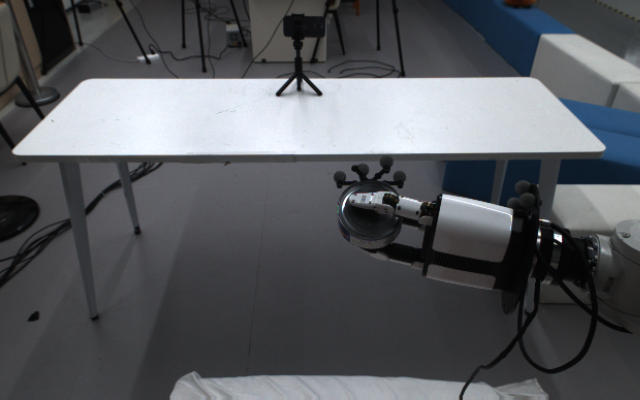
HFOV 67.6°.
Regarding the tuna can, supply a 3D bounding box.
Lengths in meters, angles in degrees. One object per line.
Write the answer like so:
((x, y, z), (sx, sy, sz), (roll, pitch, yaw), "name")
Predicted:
((0.066, 0.018, 0.621), (0.085, 0.034, 0.085), (-2, 58, 3), "tuna can")
